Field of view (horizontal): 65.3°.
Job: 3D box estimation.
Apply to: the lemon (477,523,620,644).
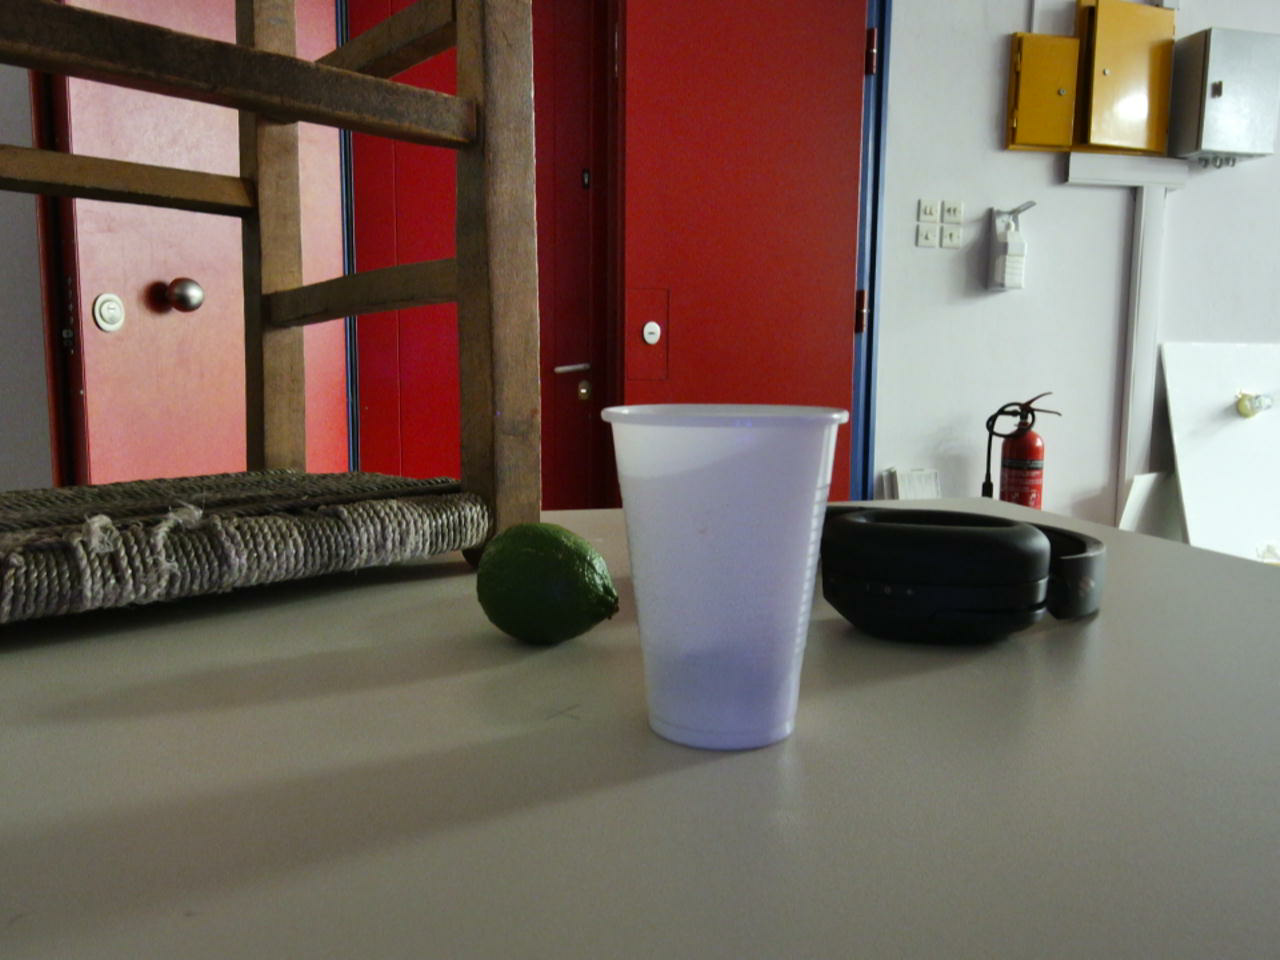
[{"bbox_3d":[-0.041,0.044,0.429,0.057,0.051,0.054,-2,4,-17],"label":"lemon"}]
